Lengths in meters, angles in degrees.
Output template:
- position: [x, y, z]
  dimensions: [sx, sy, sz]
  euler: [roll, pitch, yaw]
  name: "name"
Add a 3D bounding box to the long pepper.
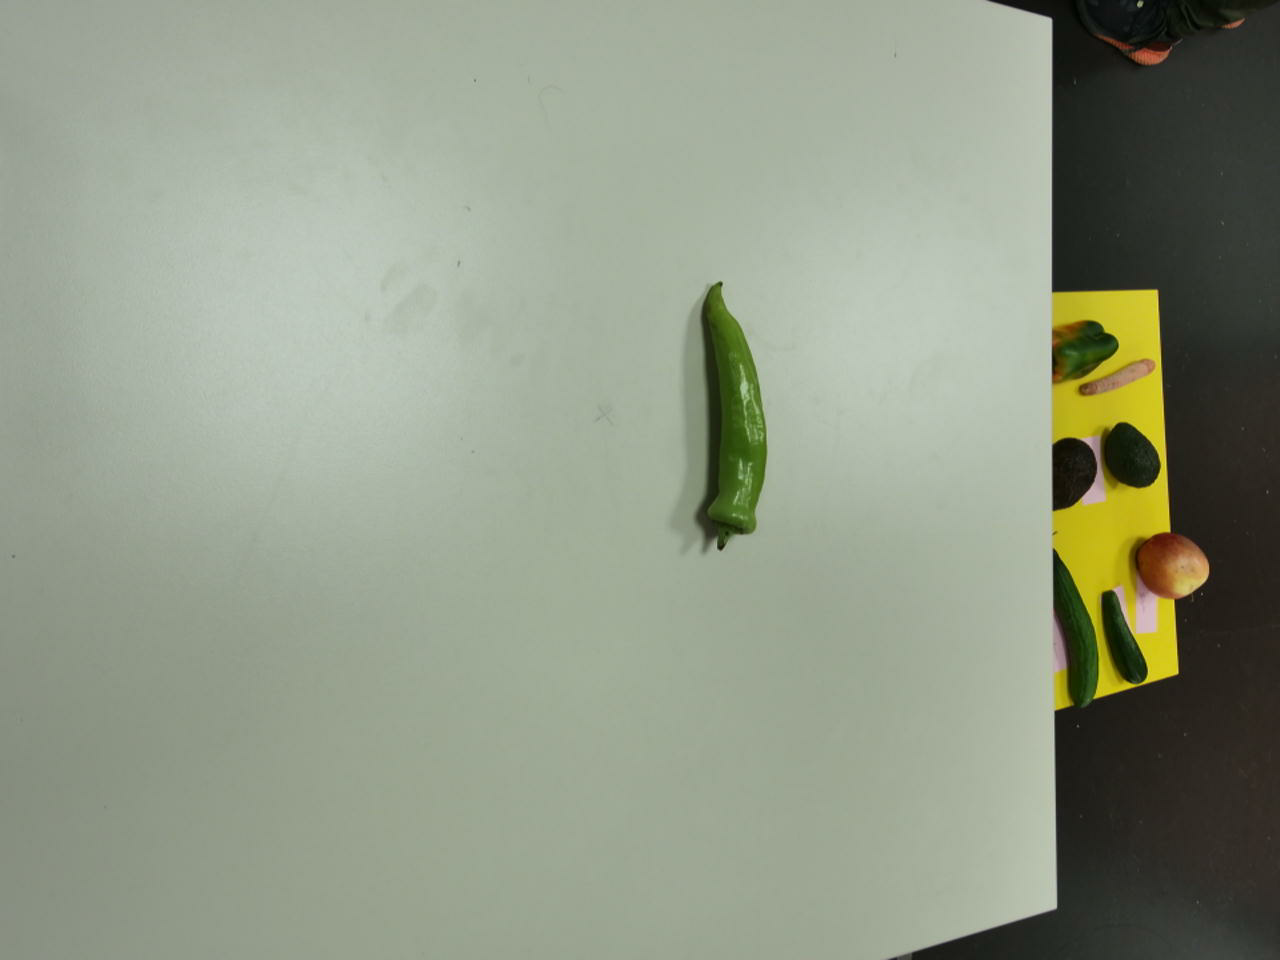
- position: [0.071, -0.047, 0.725]
  dimensions: [0.046, 0.038, 0.197]
  euler: [2, 90, -28]
  name: "long pepper"
